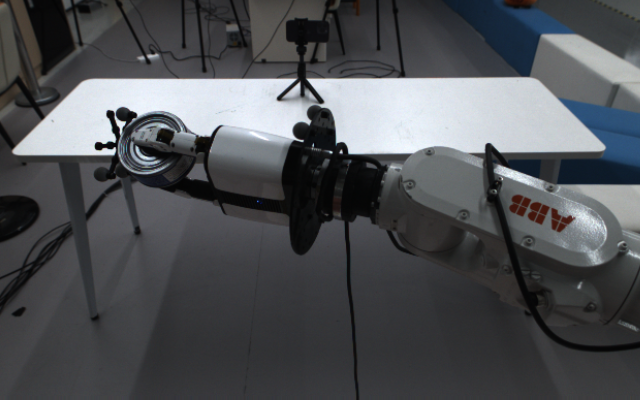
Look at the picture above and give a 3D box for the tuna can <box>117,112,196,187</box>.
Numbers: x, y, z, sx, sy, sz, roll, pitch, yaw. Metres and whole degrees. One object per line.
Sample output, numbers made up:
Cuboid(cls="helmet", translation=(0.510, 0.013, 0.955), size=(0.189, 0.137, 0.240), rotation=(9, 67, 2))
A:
Cuboid(cls="tuna can", translation=(-0.188, -0.060, 0.564), size=(0.085, 0.034, 0.085), rotation=(-2, 69, 6))
